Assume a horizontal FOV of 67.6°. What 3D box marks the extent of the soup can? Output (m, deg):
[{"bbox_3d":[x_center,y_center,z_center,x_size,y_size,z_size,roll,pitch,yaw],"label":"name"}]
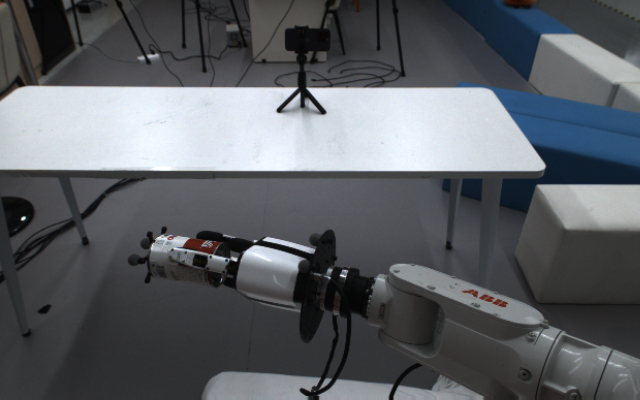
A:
[{"bbox_3d":[-0.191,0.091,0.716,0.101,0.067,0.067,6,35,11],"label":"soup can"}]
